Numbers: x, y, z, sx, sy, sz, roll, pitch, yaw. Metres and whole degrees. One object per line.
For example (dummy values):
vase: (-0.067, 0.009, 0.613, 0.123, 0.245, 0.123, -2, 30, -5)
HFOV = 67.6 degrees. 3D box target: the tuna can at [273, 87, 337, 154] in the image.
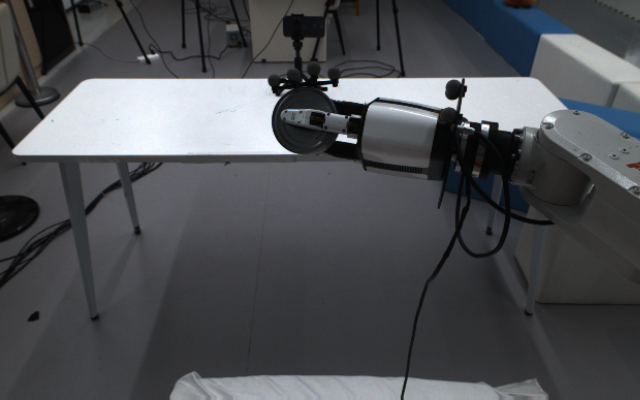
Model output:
tuna can: (-0.015, -0.097, 0.625, 0.085, 0.085, 0.034, 10, 3, 11)
